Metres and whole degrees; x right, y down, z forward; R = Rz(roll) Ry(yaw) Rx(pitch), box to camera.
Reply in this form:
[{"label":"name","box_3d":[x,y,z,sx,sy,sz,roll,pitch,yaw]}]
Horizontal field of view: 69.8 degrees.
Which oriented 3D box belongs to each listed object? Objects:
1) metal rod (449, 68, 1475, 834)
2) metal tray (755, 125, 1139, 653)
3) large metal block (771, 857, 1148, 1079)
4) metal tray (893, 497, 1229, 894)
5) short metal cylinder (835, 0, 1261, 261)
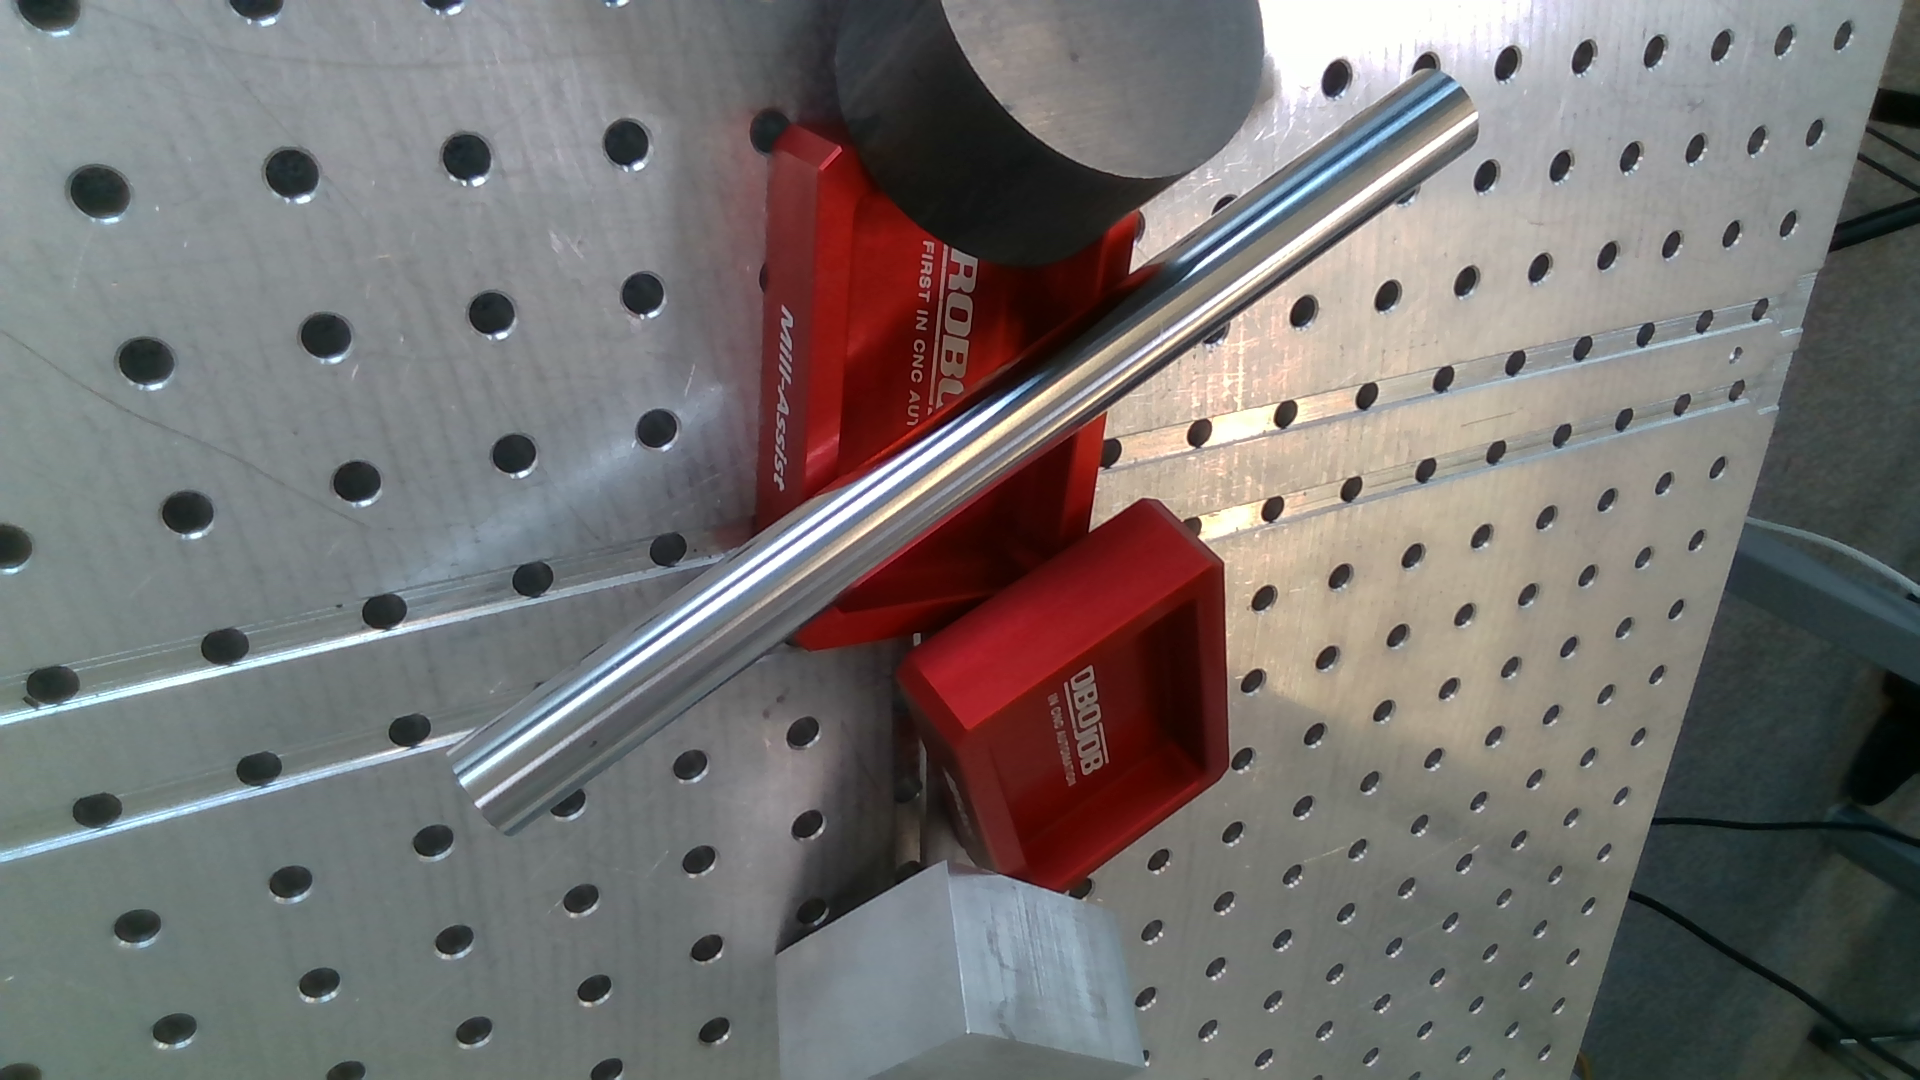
[{"label":"metal rod","box_3d":[0.009,-0.029,0.344,0.300,0.025,0.025,-36,128,-10]},{"label":"metal tray","box_3d":[-0.005,-0.039,0.364,0.090,0.030,0.130,-8,119,-28]},{"label":"large metal block","box_3d":[-0.001,0.147,0.433,0.080,0.050,0.080,-35,136,30]},{"label":"metal tray","box_3d":[0.037,0.056,0.418,0.090,0.030,0.130,-33,144,-13]},{"label":"short metal cylinder","box_3d":[0.019,-0.109,0.306,0.080,0.050,0.080,6,77,-26]}]
